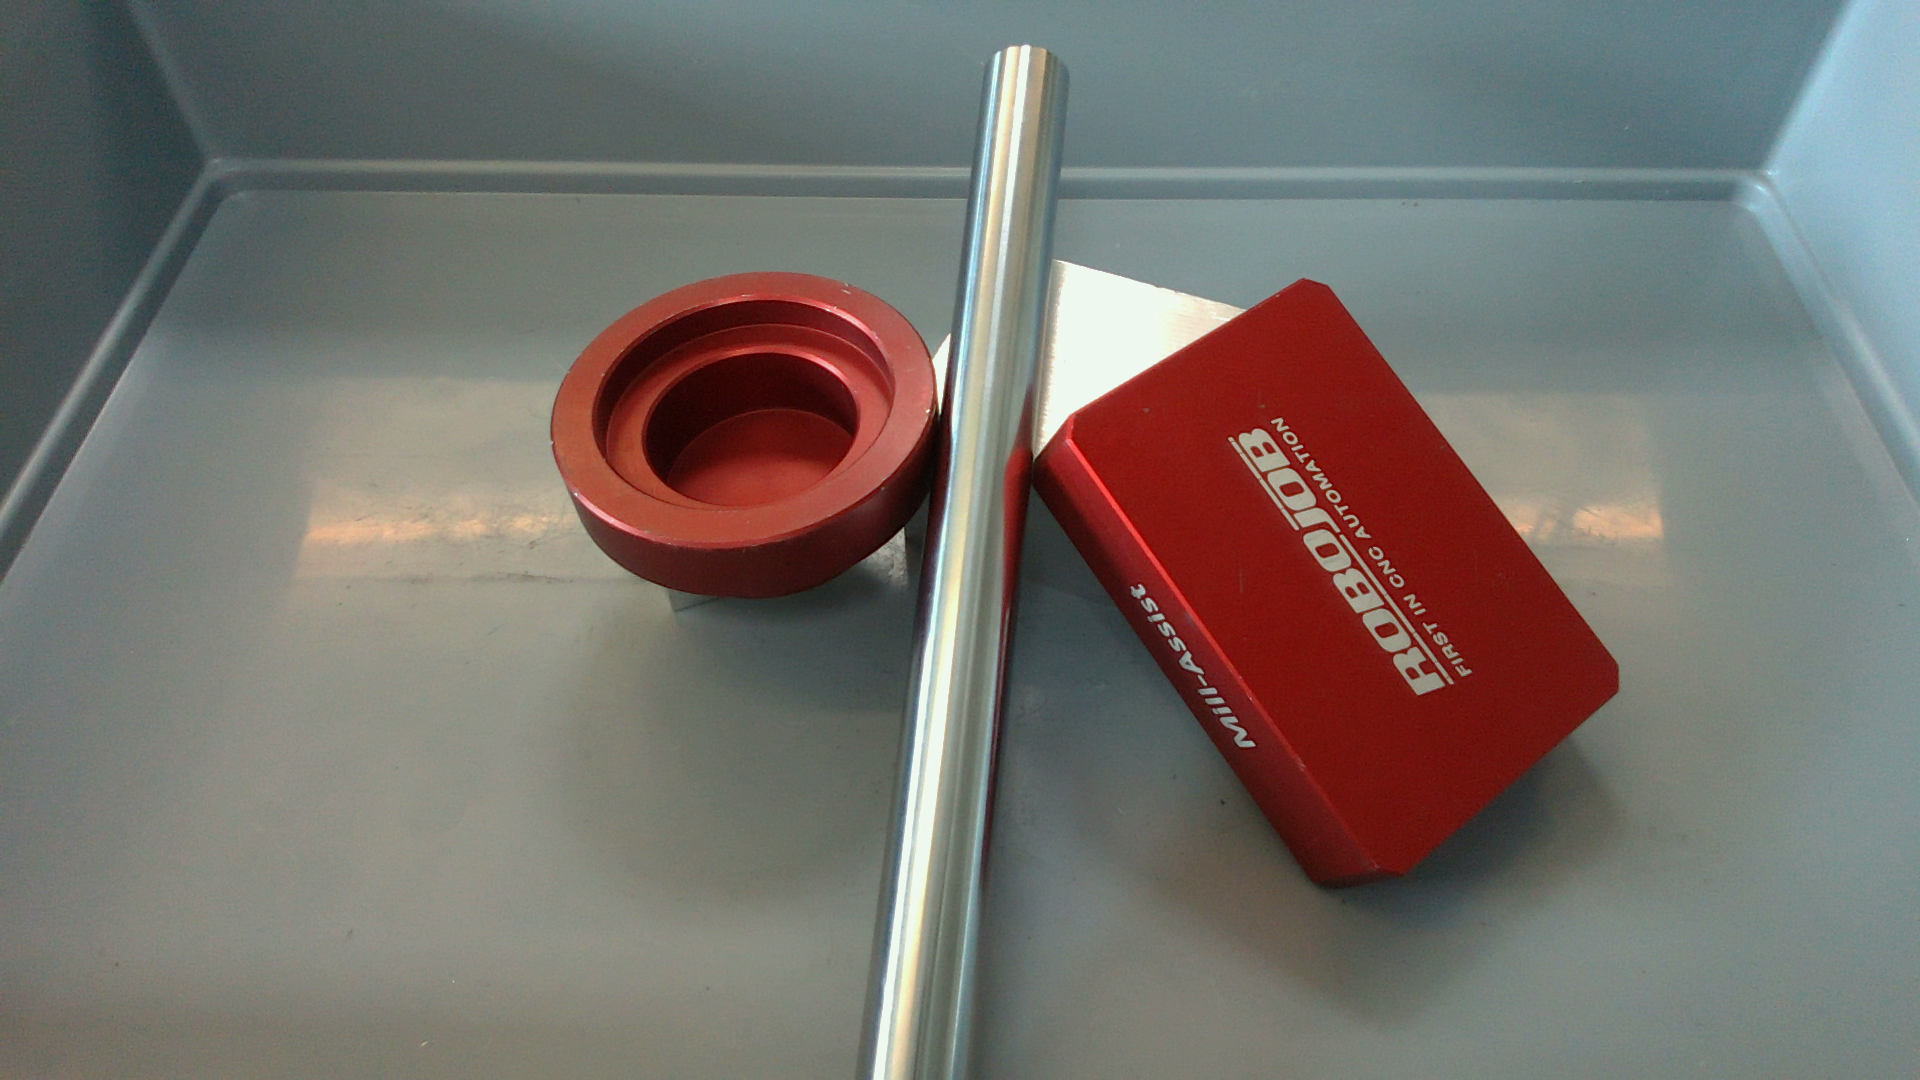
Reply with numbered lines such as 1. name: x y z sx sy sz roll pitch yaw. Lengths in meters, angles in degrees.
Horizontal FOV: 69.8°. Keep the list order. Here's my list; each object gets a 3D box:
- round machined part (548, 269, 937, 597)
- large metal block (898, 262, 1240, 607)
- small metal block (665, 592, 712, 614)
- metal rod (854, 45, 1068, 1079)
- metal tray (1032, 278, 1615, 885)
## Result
1. round machined part: -0.054 -0.024 0.364 0.098 0.042 0.098 -2 50 2
2. large metal block: 0.034 -0.033 0.402 0.080 0.050 0.080 18 52 15
3. small metal block: -0.068 -0.012 0.401 0.050 0.025 0.050 -17 52 -14
4. metal rod: 0.003 0.002 0.336 0.025 0.025 0.300 5 66 4
5. metal tray: 0.091 0.008 0.347 0.090 0.030 0.130 -31 81 -23
